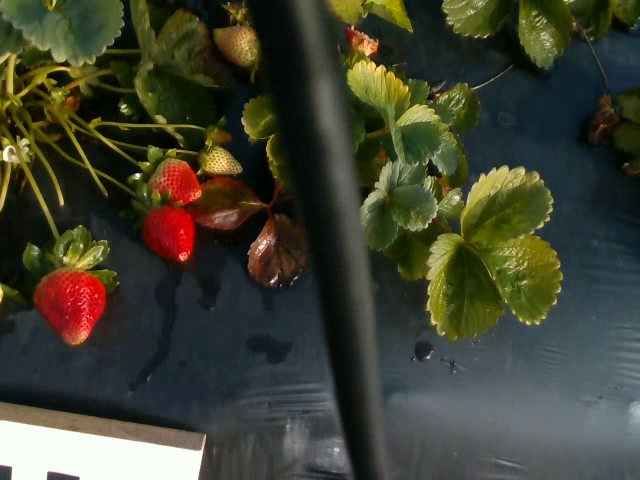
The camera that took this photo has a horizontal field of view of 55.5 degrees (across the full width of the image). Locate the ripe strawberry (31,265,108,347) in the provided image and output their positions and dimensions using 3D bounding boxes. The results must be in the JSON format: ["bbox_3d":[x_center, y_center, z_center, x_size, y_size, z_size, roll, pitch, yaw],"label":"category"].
[{"bbox_3d":[-0.179,0.049,0.428,0.050,0.065,0.050,-26,-37,11],"label":"ripe strawberry"}]

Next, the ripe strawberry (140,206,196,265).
[{"bbox_3d":[-0.113,-0.001,0.452,0.041,0.045,0.055,20,26,-49],"label":"ripe strawberry"}]
